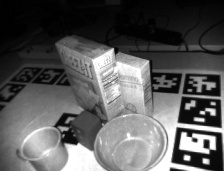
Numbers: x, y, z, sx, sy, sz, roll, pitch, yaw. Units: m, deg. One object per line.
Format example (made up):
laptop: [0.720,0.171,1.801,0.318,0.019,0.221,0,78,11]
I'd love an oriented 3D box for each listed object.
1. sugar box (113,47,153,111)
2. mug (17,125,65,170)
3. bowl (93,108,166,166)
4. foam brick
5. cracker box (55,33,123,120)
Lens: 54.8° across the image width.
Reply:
sugar box: [0.052,-0.009,0.561,0.091,0.178,0.045,20,49,37]
mug: [-0.170,0.147,0.504,0.116,0.082,0.093,-4,31,16]
bowl: [0.040,0.124,0.480,0.161,0.055,0.161,-8,39,7]
foam brick: [-0.062,0.100,0.547,0.052,0.079,0.051,15,45,33]
cracker box: [-0.058,-0.020,0.580,0.072,0.215,0.162,-34,43,-27]
